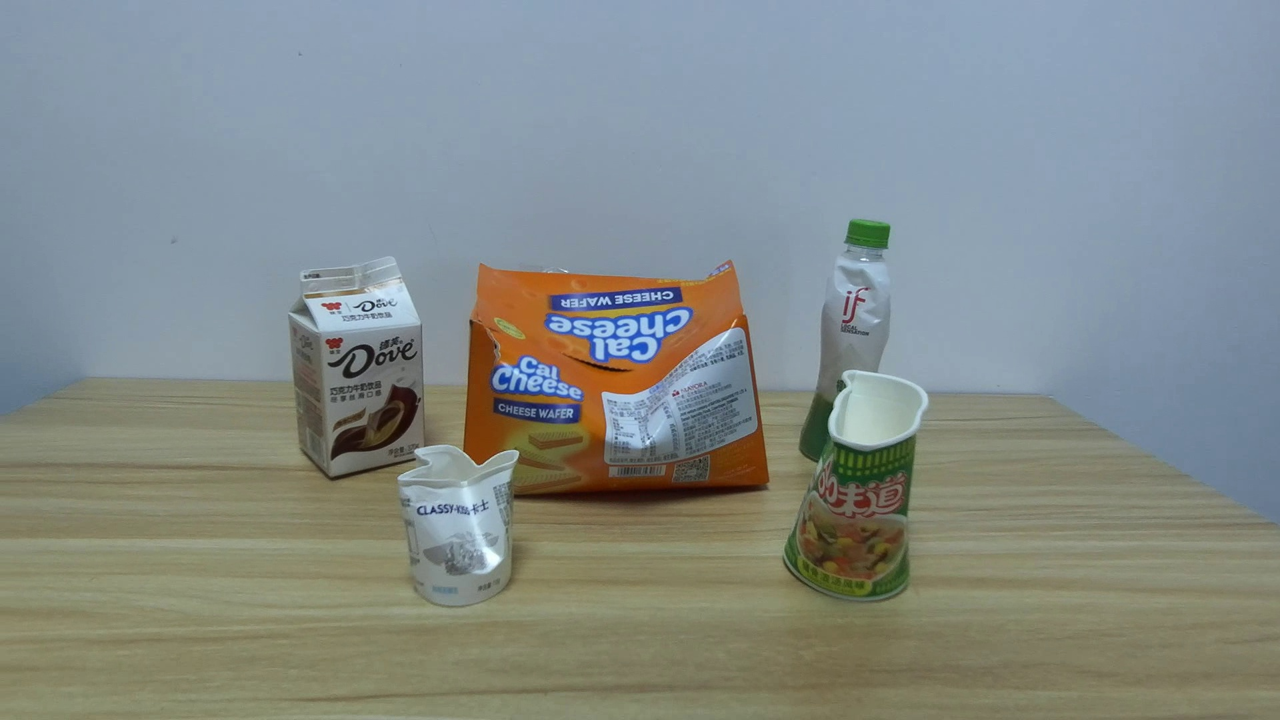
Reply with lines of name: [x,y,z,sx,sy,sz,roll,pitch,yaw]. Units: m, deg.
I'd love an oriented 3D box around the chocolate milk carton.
chocolate milk carton: [-0.209,0.001,0.522,0.076,0.148,0.073,-9,18,-41]

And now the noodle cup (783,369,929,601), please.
noodle cup: [0.121,0.072,0.399,0.070,0.111,0.115,14,20,35]

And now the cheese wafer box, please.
cheese wafer box: [-0.018,0.009,0.531,0.219,0.145,0.191,0,17,-8]

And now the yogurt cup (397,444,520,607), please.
yogurt cup: [-0.097,0.086,0.383,0.055,0.072,0.055,3,16,3]

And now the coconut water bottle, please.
coconut water bottle: [0.166,-0.012,0.547,0.067,0.187,0.067,5,11,-1]
